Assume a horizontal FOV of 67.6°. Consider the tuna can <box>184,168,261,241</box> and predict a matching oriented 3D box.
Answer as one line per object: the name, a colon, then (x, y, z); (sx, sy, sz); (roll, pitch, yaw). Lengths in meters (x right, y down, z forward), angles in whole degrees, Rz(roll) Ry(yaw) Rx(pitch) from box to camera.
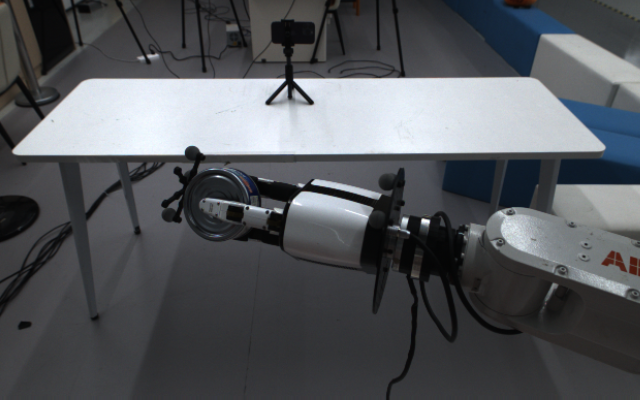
tuna can: (-0.109, 0.010, 0.559); (0.085, 0.085, 0.034); (12, 5, 13)
